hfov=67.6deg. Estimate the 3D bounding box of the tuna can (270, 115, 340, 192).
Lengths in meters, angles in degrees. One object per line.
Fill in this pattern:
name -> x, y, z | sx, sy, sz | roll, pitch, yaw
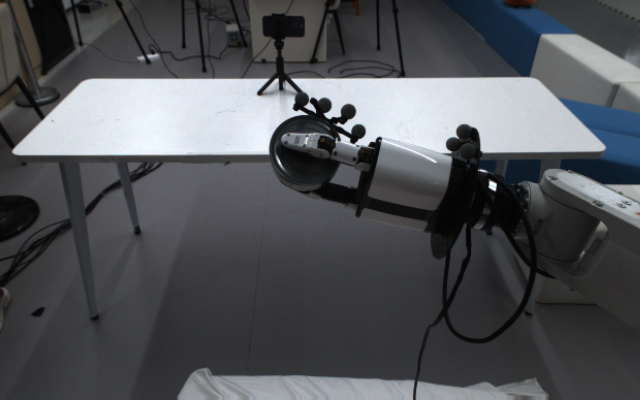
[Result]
tuna can -> -0.016, -0.056, 0.576 | 0.085, 0.034, 0.085 | 1, 75, -4
